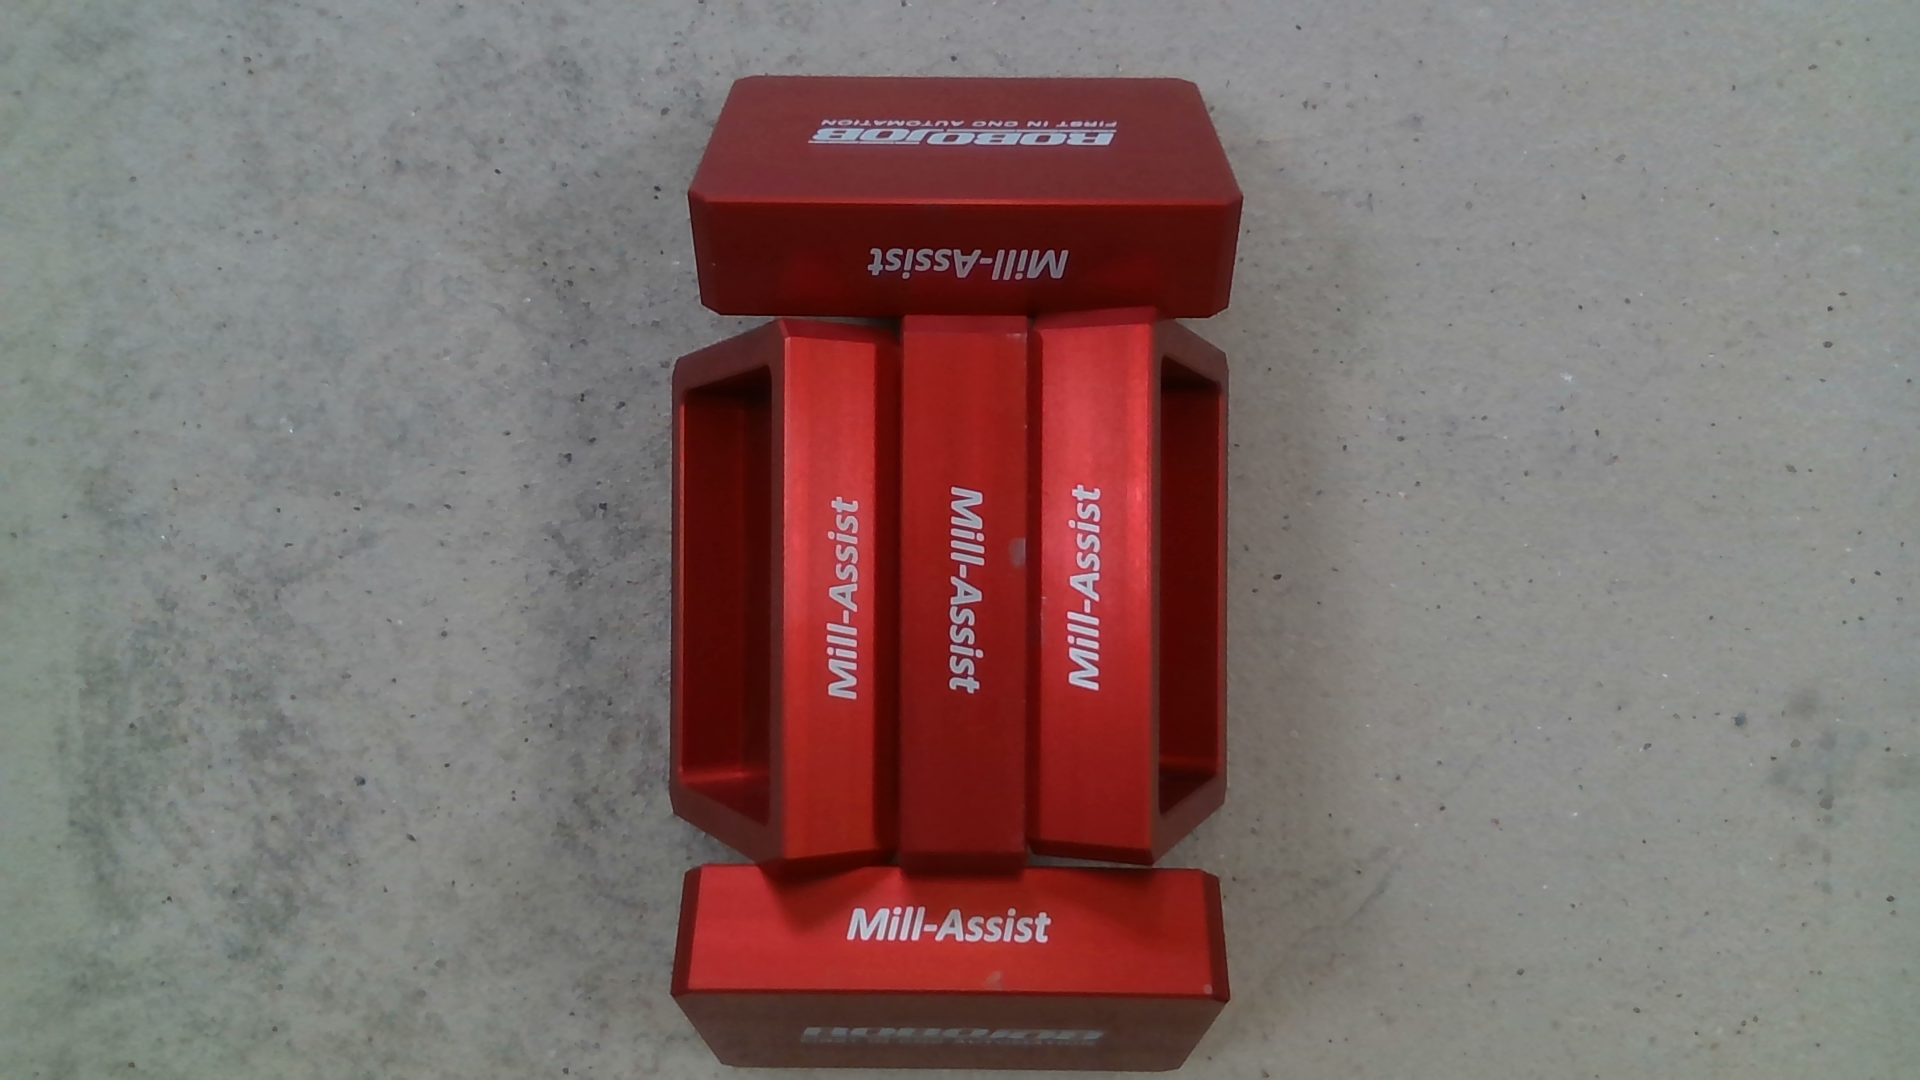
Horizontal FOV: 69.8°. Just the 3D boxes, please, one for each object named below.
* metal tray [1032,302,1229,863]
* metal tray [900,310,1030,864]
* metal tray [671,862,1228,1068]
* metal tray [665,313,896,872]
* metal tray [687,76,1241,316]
[{"bbox_3d":[0.047,0.010,0.361,0.030,0.090,0.130,0,90,22],"label":"metal tray"},{"bbox_3d":[0.001,0.011,0.362,0.030,0.090,0.130,0,90,0],"label":"metal tray"},{"bbox_3d":[-0.003,0.114,0.362,0.130,0.090,0.030,1,58,0],"label":"metal tray"},{"bbox_3d":[-0.049,0.012,0.362,0.030,0.090,0.130,0,90,-29],"label":"metal tray"},{"bbox_3d":[0.001,-0.093,0.363,0.130,0.090,0.030,0,126,0],"label":"metal tray"}]
